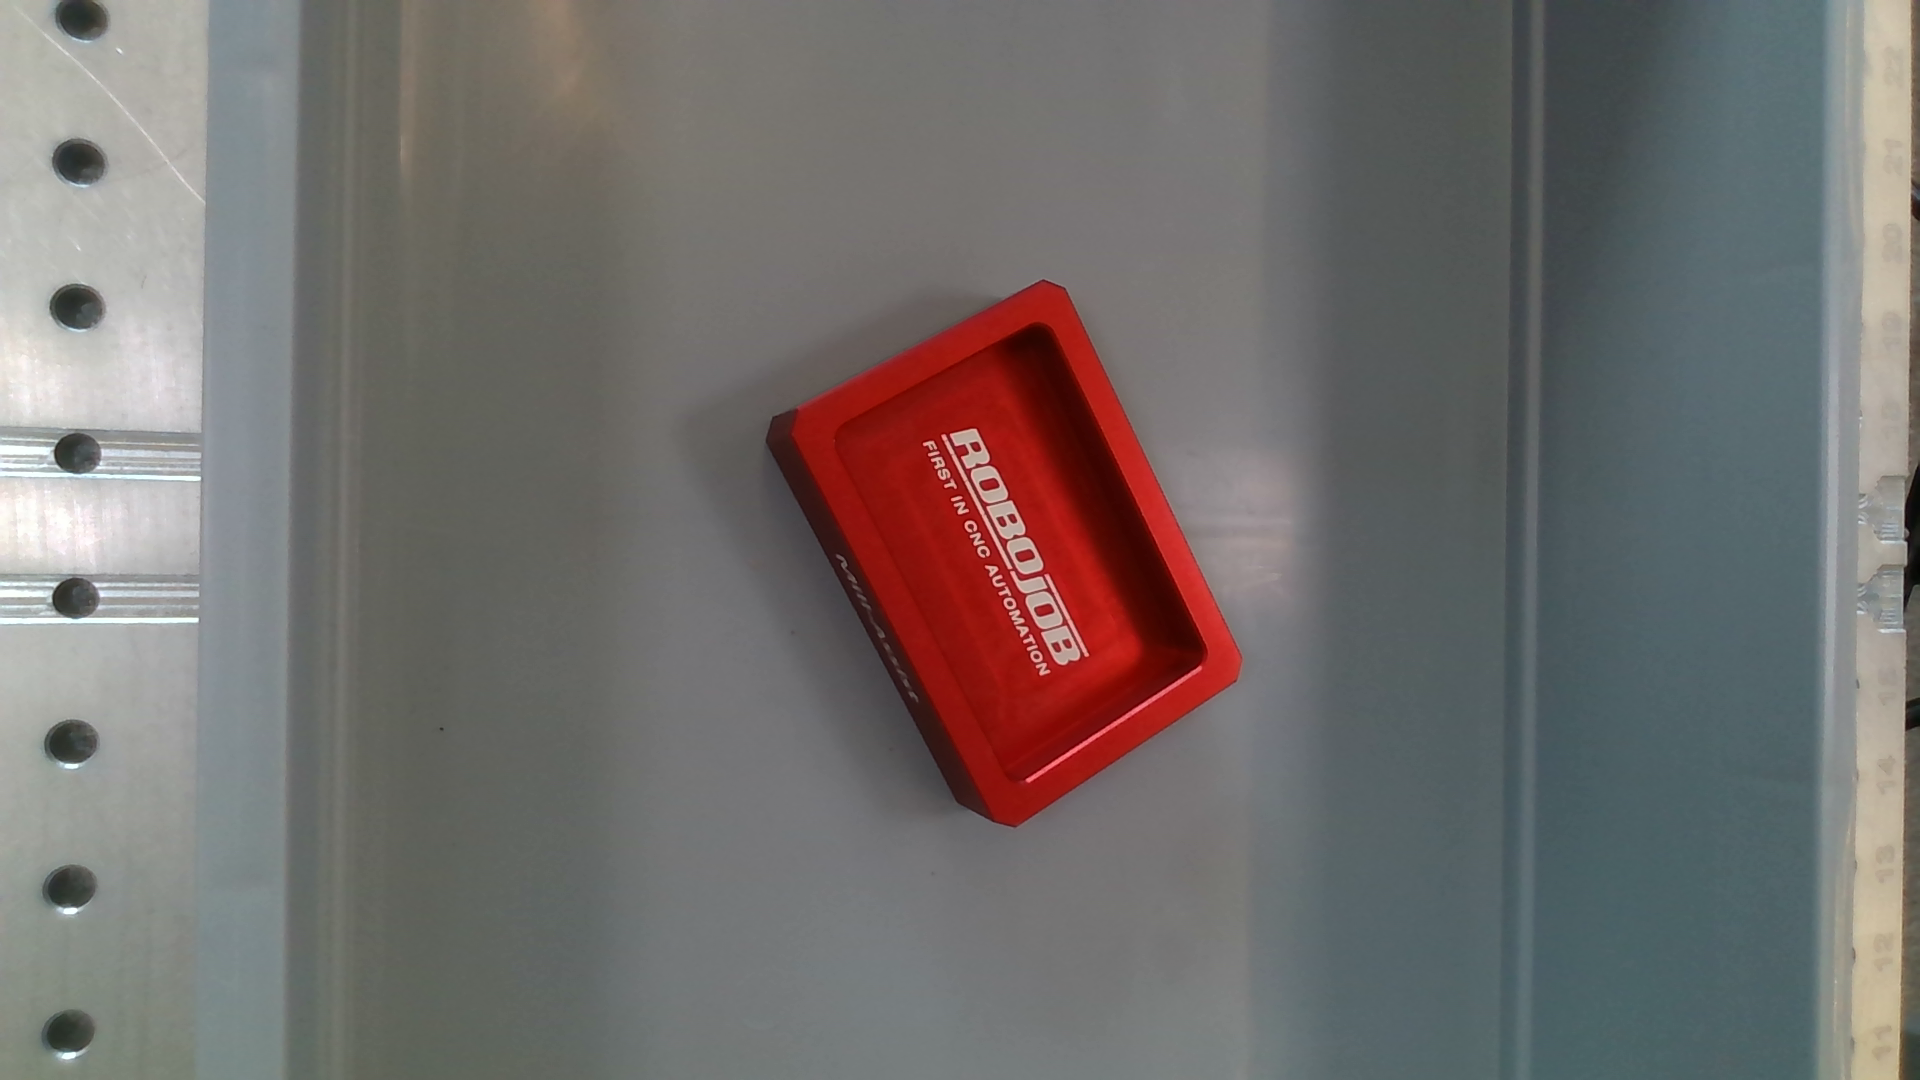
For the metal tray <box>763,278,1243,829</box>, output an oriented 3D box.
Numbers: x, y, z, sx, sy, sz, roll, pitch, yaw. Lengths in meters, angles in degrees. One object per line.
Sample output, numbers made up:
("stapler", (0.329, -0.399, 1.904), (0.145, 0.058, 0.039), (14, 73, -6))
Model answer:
("metal tray", (0.014, 0.004, 0.393), (0.090, 0.030, 0.130), (-30, 100, -17))
